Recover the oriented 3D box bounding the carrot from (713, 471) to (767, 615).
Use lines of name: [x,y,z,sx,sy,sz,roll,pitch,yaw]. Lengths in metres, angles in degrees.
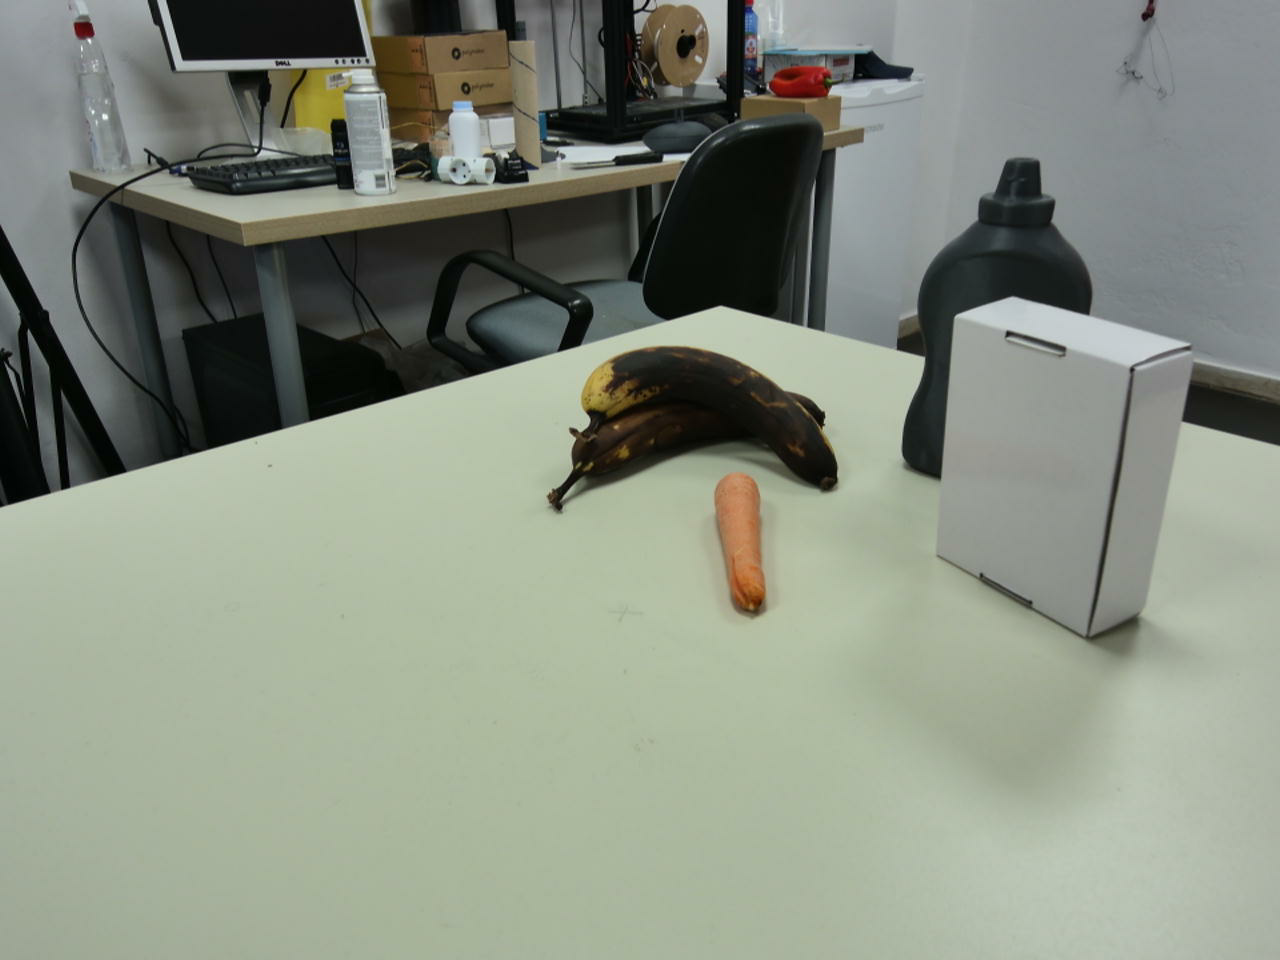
carrot: [0.058,0.031,0.575,0.030,0.032,0.136,1,24,3]
